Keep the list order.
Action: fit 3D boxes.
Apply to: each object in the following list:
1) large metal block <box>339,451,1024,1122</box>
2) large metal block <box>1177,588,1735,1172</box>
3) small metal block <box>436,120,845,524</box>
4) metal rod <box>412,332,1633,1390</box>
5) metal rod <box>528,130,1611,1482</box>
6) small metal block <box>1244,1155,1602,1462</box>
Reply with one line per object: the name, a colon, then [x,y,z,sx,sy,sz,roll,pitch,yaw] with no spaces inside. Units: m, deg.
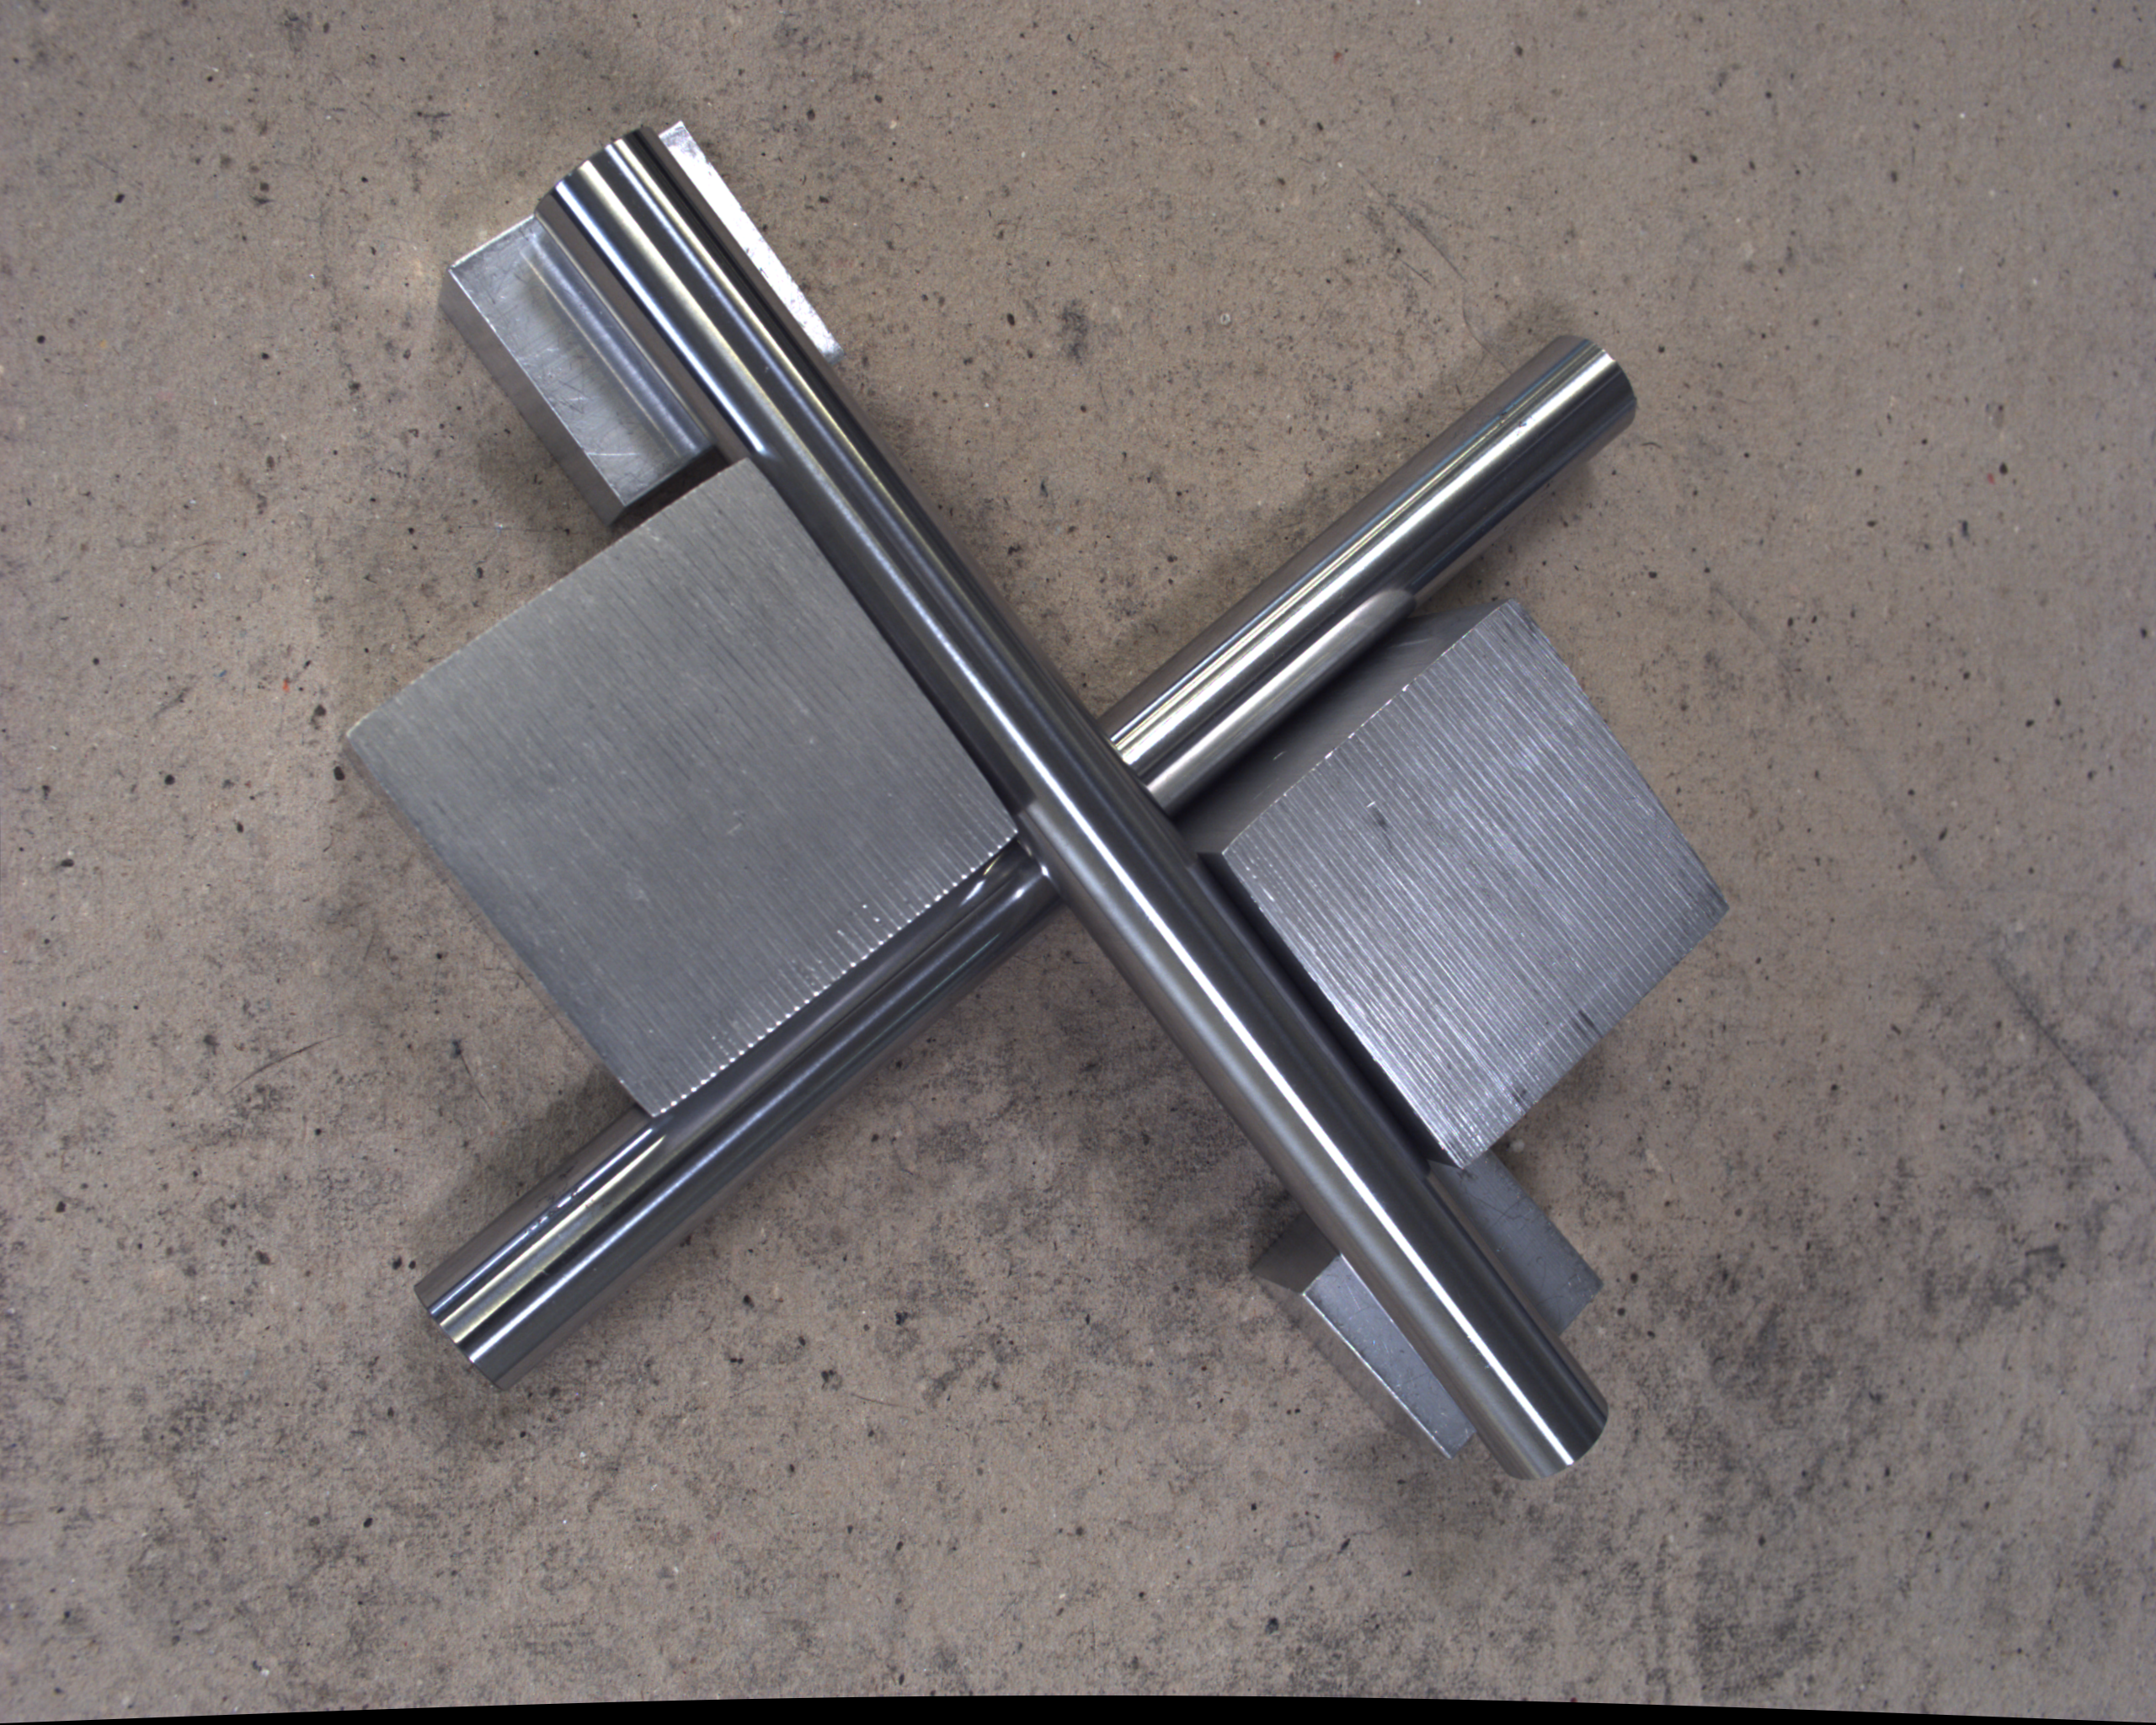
large metal block: [-0.071,-0.013,0.369,0.080,0.050,0.080,-39,103,-16]
large metal block: [0.070,0.003,0.423,0.080,0.050,0.080,-41,103,-15]
small metal block: [-0.080,-0.097,0.381,0.050,0.025,0.050,-39,103,-16]
metal rod: [0.000,-0.010,0.411,0.301,0.025,0.025,-41,103,-16]
metal rod: [0.007,-0.001,0.386,0.025,0.025,0.300,-41,103,-15]
small metal block: [0.073,0.087,0.438,0.050,0.025,0.050,-45,104,-15]
